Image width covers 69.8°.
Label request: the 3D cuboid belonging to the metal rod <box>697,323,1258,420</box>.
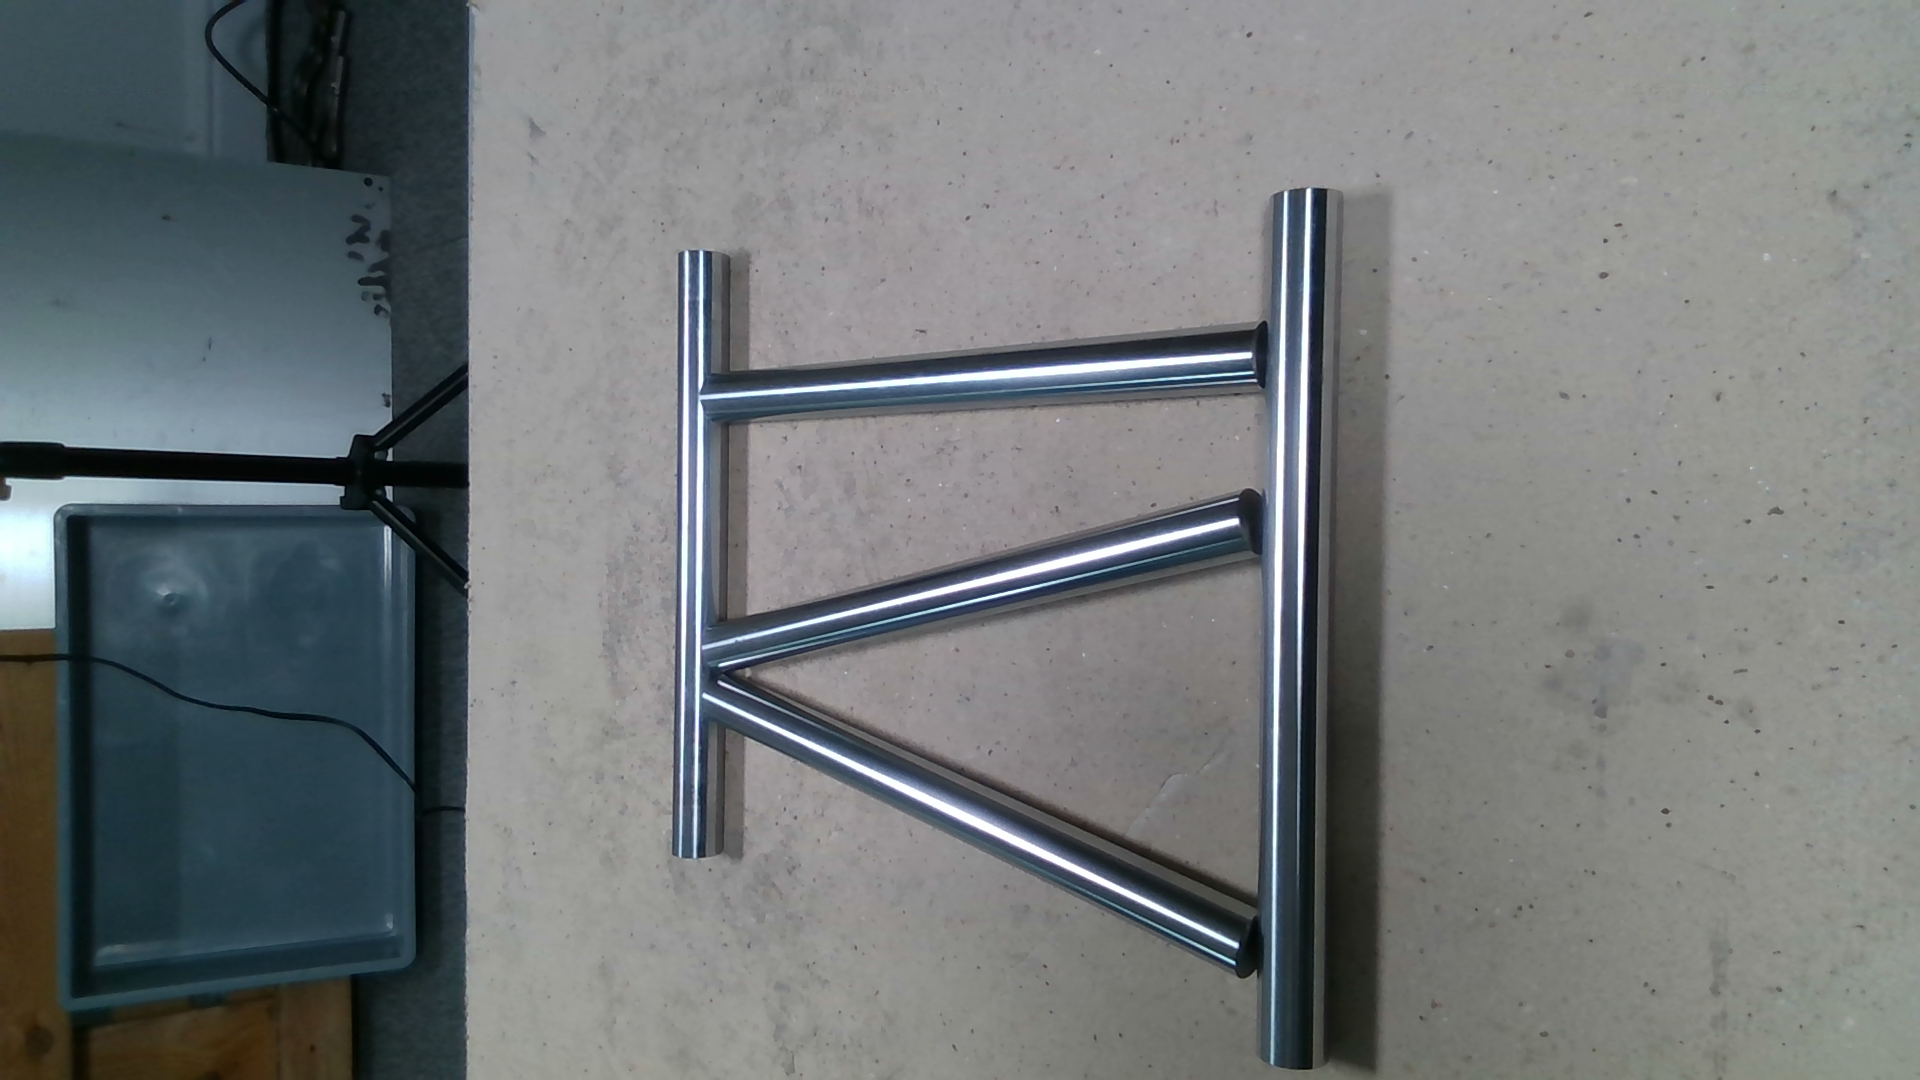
[{"bbox_3d":[-0.006,-0.068,0.585,0.300,0.025,0.025,1,91,40],"label":"metal rod"}]

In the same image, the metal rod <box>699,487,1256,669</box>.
[{"bbox_3d":[-0.007,0.023,0.587,0.300,0.025,0.025,-15,81,39],"label":"metal rod"}]

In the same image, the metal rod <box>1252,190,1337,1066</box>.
[{"bbox_3d":[0.117,0.031,0.483,0.025,0.025,0.300,2,92,40],"label":"metal rod"}]

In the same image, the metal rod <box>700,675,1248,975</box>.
[{"bbox_3d":[-0.007,0.111,0.588,0.300,0.025,0.025,17,101,39],"label":"metal rod"}]

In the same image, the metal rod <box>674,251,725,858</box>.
[{"bbox_3d":[-0.131,0.008,0.692,0.025,0.025,0.300,2,92,40],"label":"metal rod"}]
